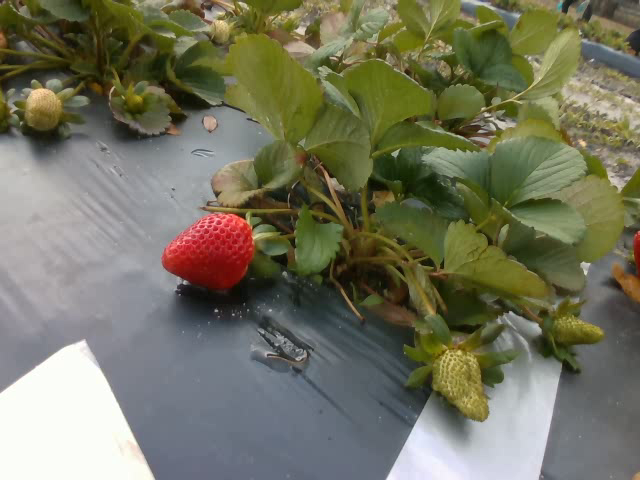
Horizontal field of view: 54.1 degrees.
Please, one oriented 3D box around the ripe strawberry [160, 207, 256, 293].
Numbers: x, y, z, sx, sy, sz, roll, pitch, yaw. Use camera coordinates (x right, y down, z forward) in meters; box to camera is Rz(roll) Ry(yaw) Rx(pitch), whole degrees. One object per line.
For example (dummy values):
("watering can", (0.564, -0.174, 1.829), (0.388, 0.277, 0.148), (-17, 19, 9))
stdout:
("ripe strawberry", (-0.047, 0.004, 0.269), (0.046, 0.040, 0.036), (0, 10, -41))
